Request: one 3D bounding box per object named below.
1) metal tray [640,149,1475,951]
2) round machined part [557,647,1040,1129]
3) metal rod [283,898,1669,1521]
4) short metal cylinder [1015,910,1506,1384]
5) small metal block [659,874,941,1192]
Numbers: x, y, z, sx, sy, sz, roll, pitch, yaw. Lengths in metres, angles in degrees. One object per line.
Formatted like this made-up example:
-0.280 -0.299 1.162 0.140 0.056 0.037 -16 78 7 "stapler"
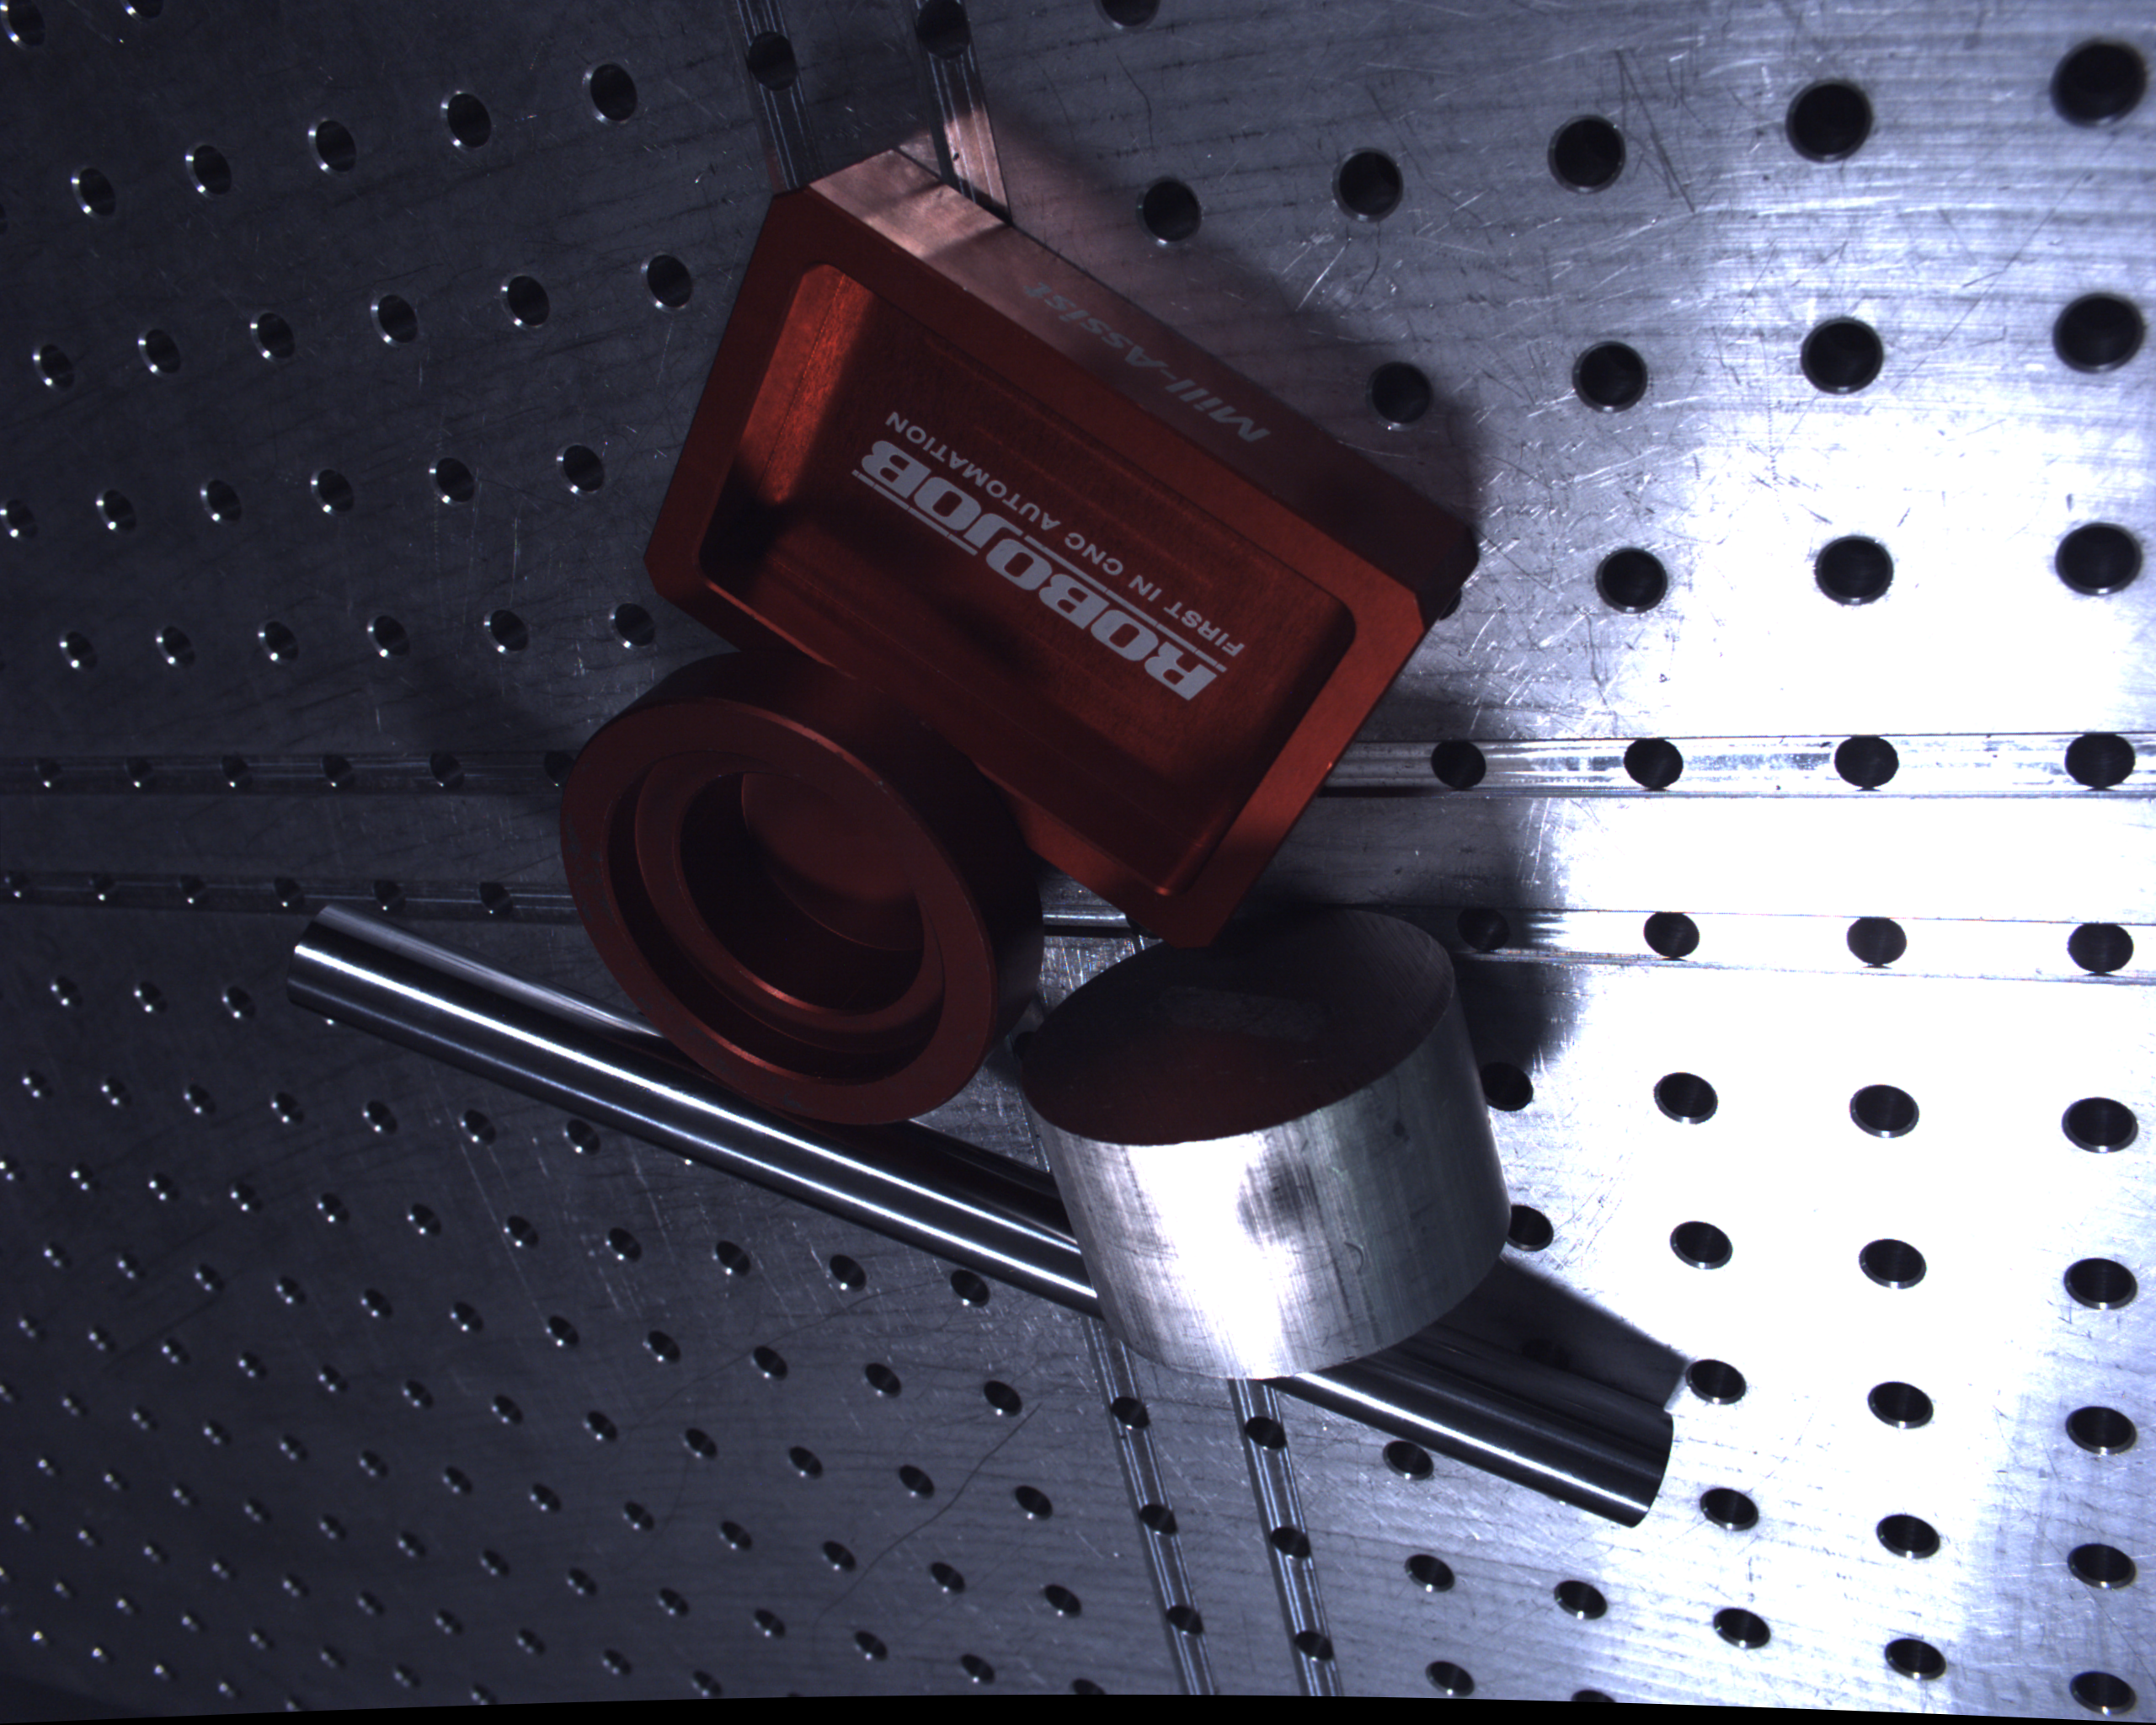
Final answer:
-0.008 -0.054 0.376 0.130 0.030 0.089 35 128 5 "metal tray"
-0.051 0.001 0.416 0.098 0.042 0.097 14 125 22 "round machined part"
-0.025 0.071 0.440 0.301 0.025 0.025 20 127 5 "metal rod"
0.034 0.050 0.386 0.080 0.080 0.050 -4 117 29 "short metal cylinder"
-0.063 0.038 0.466 0.050 0.025 0.050 25 127 12 "small metal block"
